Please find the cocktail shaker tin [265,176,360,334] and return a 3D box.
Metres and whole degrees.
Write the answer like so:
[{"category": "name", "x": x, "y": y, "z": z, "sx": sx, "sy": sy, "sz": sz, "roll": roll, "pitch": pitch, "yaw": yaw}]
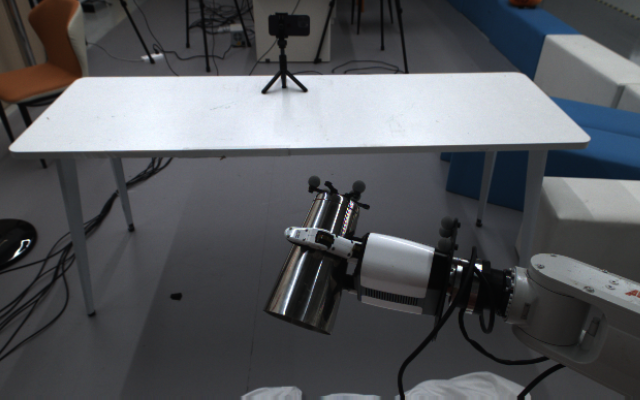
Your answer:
[{"category": "cocktail shaker tin", "x": -0.004, "y": 0.079, "z": 0.637, "sx": 0.093, "sy": 0.093, "sz": 0.170, "roll": 14, "pitch": 70, "yaw": 16}]
